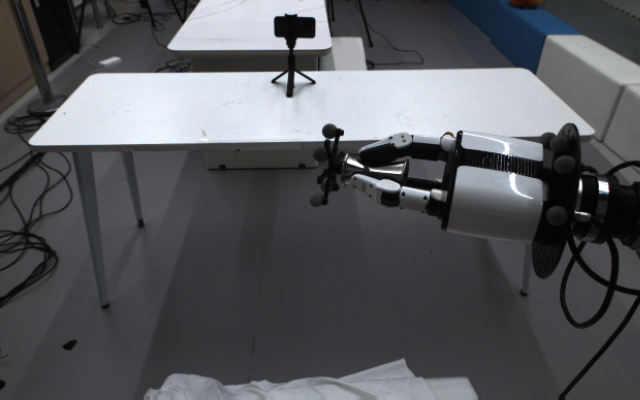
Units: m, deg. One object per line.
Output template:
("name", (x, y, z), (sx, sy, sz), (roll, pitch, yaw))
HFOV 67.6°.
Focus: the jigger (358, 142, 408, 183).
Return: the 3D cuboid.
("jigger", (0.068, -0.031, 0.541), (0.071, 0.043, 0.043), (11, 36, 15))
